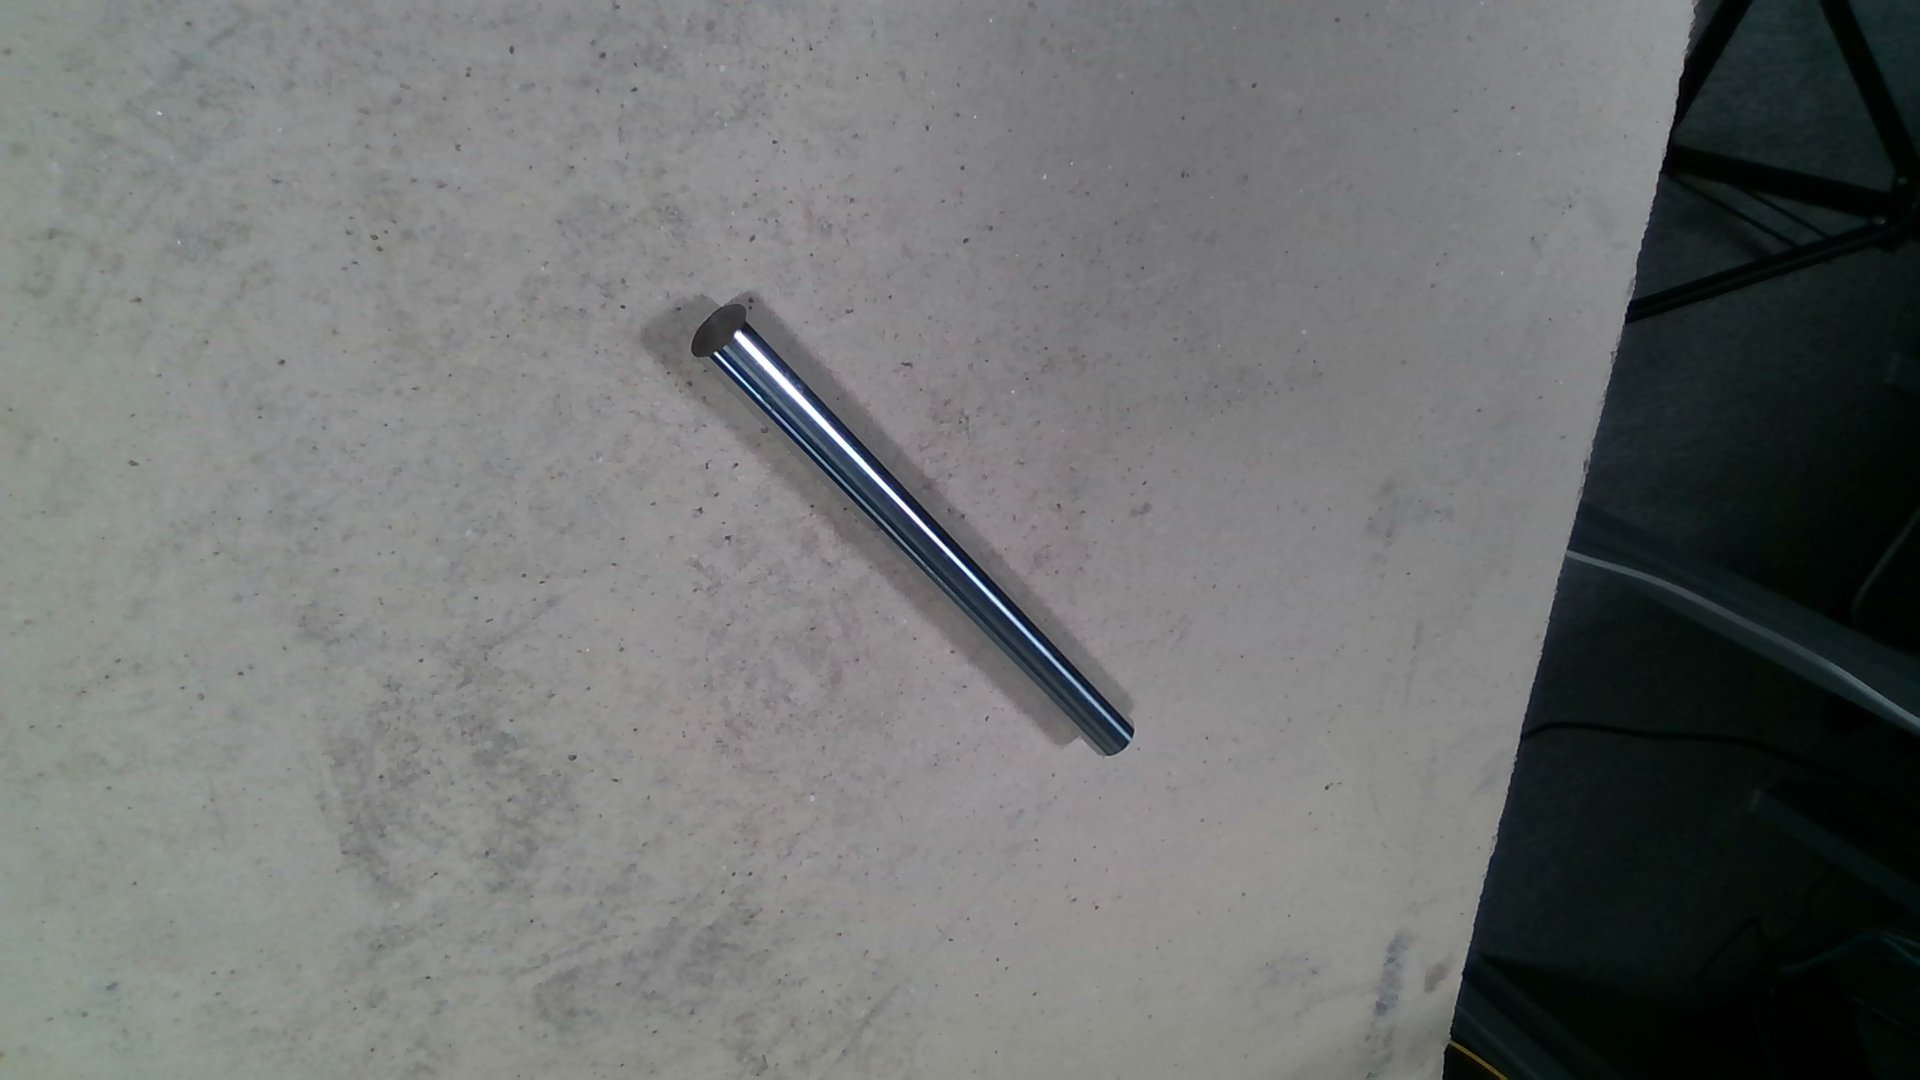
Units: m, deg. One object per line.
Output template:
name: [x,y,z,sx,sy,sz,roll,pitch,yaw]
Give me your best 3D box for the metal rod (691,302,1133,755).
metal rod: [-0.006,0.010,0.583,0.025,0.025,0.301,-45,129,-3]
